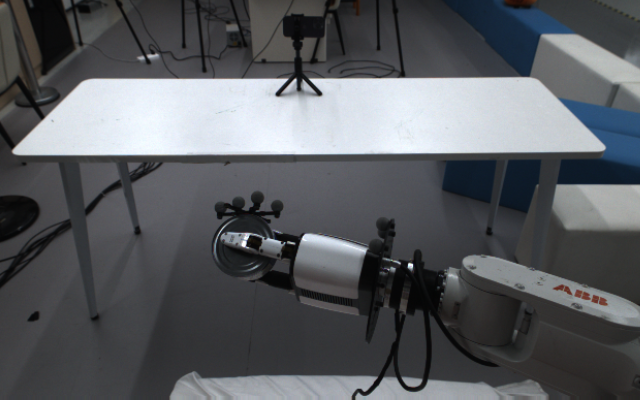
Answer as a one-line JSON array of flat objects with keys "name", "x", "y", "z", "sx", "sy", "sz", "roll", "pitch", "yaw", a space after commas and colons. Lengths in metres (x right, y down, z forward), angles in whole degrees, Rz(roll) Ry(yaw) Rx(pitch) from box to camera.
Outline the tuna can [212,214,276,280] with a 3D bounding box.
[{"name": "tuna can", "x": -0.097, "y": 0.069, "z": 0.645, "sx": 0.085, "sy": 0.034, "sz": 0.085, "roll": -2, "pitch": 69, "yaw": 6}]
